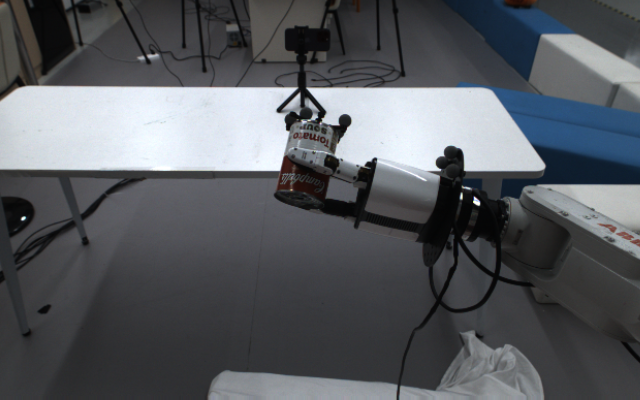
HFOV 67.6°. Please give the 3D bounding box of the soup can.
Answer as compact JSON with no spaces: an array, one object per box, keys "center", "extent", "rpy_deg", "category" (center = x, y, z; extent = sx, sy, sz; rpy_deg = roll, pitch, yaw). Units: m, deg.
[{"center":[-0.016,-0.047,0.640],"extent":[0.067,0.067,0.101],"rpy_deg":[9,74,9],"category":"soup can"}]
